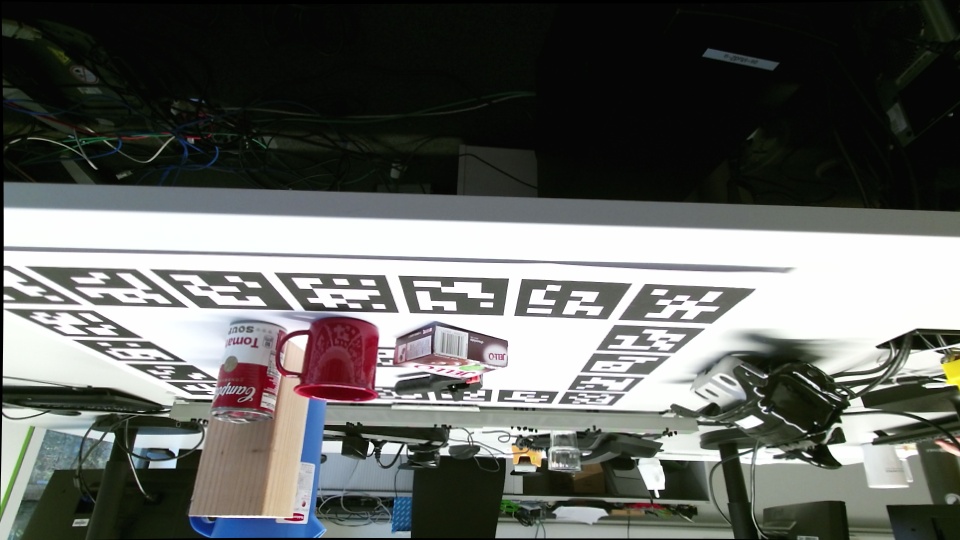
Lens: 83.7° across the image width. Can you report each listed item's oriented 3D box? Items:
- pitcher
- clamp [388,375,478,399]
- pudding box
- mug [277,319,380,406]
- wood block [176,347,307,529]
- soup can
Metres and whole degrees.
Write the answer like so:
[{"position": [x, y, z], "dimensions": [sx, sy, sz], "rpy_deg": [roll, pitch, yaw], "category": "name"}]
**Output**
[{"position": [-0.312, 0.274, 0.768], "dimensions": [0.189, 0.241, 0.133], "rpy_deg": [-1, 155, -3], "category": "pitcher"}, {"position": [-0.054, 0.174, 0.805], "dimensions": [0.122, 0.036, 0.165], "rpy_deg": [22, 146, -23], "category": "clamp"}, {"position": [-0.027, 0.106, 0.659], "dimensions": [0.114, 0.038, 0.090], "rpy_deg": [20, 144, -35], "category": "pudding box"}, {"position": [-0.167, 0.102, 0.601], "dimensions": [0.118, 0.081, 0.093], "rpy_deg": [19, 150, -34], "category": "mug"}, {"position": [-0.283, 0.206, 0.667], "dimensions": [0.090, 0.205, 0.091], "rpy_deg": [3, 153, 3], "category": "wood block"}, {"position": [-0.261, 0.119, 0.611], "dimensions": [0.068, 0.101, 0.068], "rpy_deg": [0, 151, 0], "category": "soup can"}]
